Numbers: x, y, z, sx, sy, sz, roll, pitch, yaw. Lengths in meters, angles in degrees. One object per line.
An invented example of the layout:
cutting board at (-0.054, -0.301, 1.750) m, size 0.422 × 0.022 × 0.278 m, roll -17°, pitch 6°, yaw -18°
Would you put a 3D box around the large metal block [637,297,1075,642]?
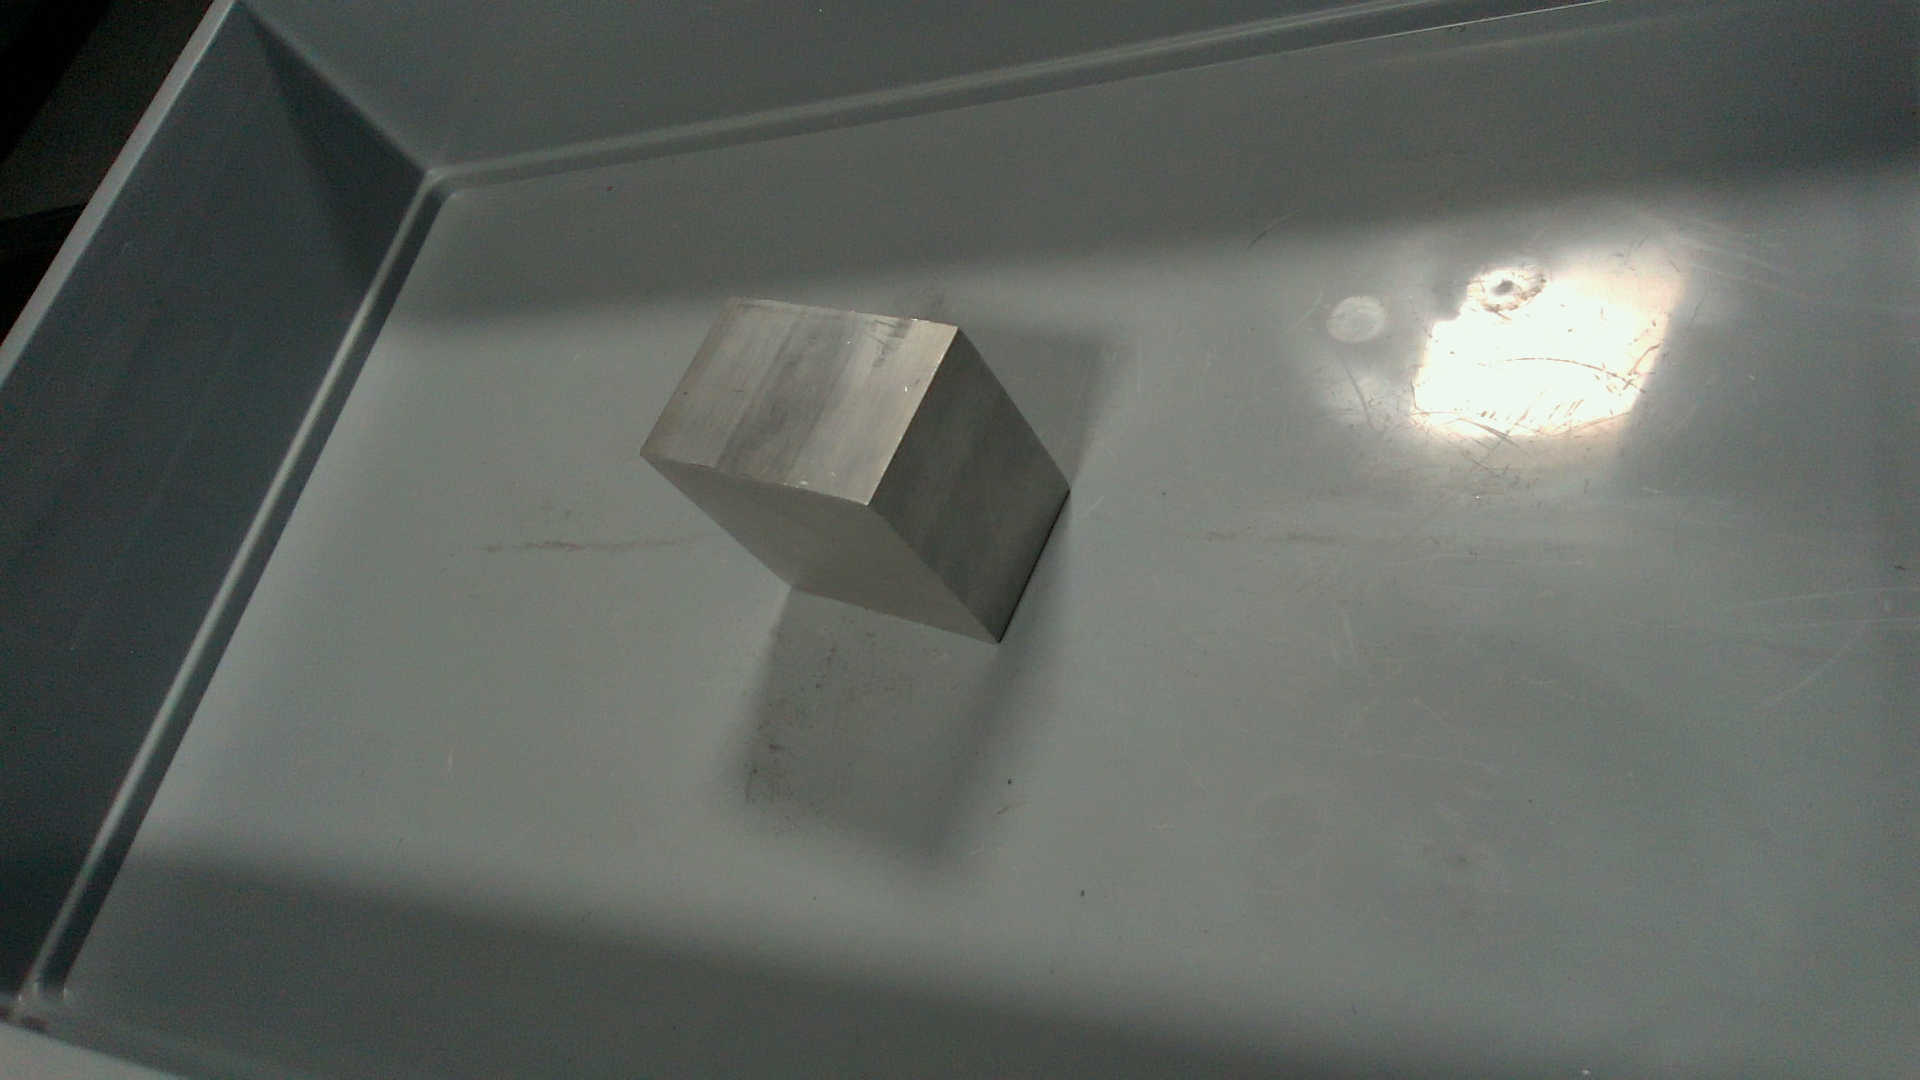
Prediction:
large metal block at (-0.026, -0.019, 0.382) m, size 0.080 × 0.080 × 0.050 m, roll 13°, pitch 68°, yaw 34°
